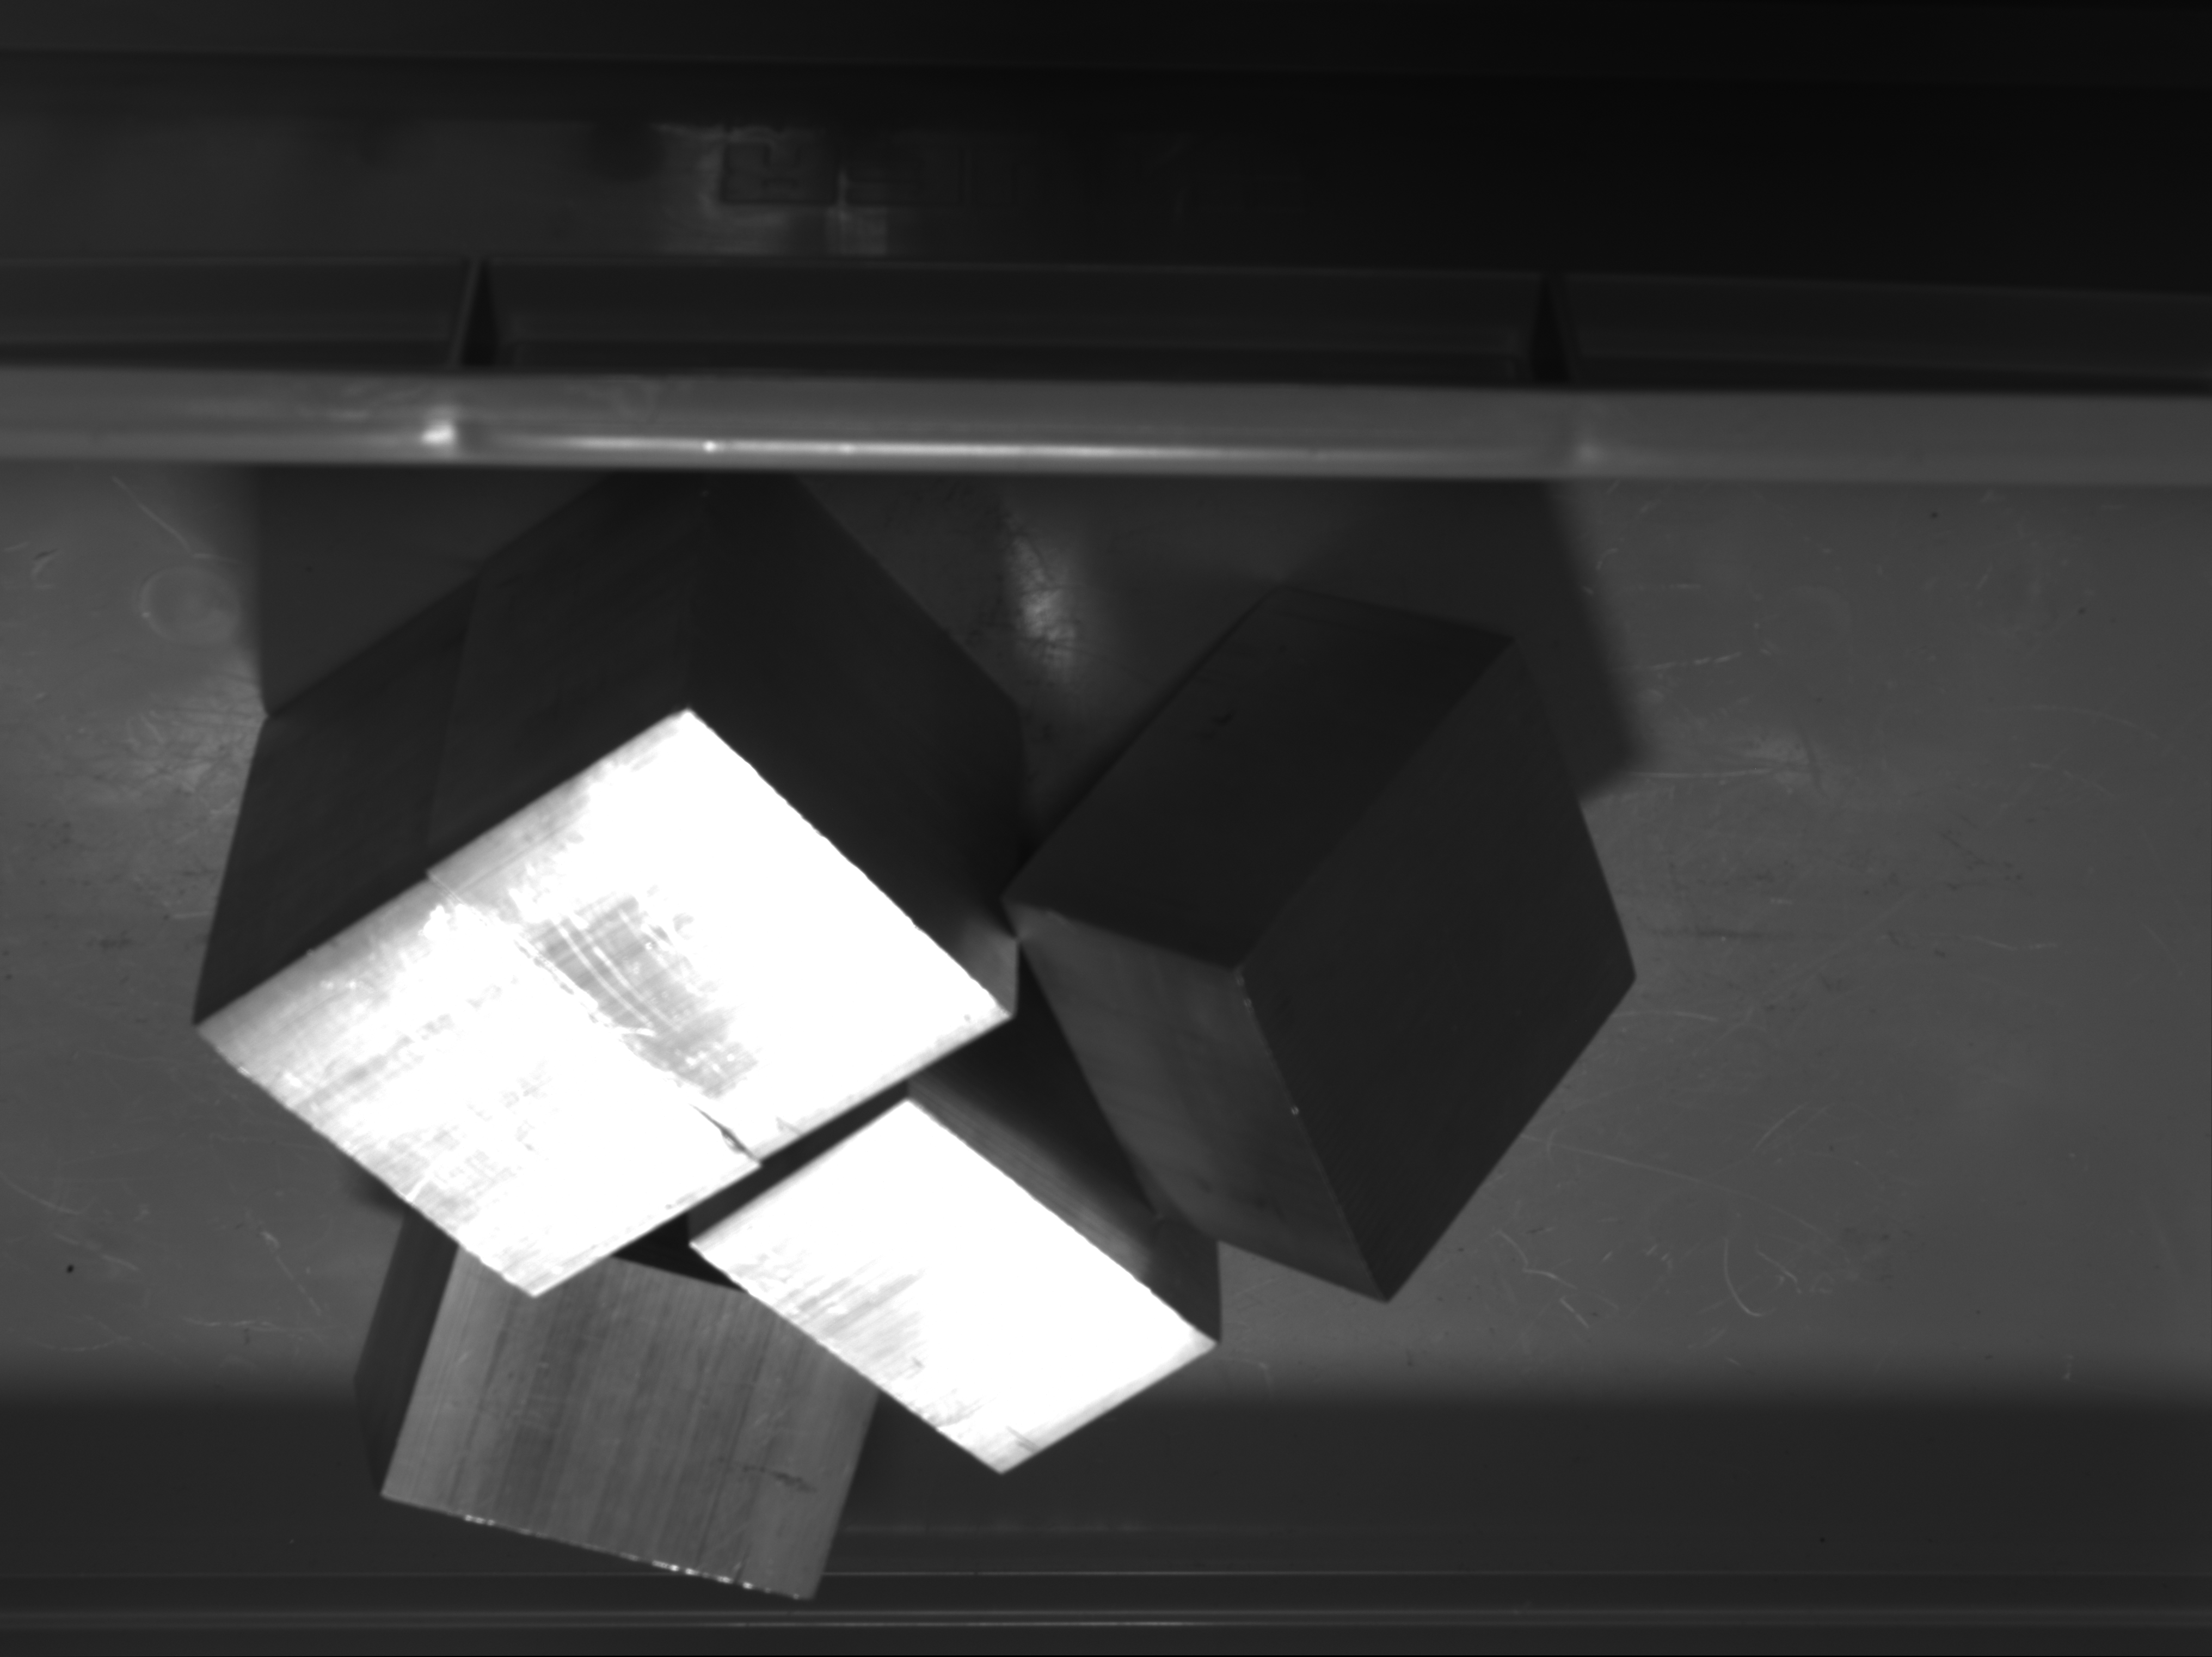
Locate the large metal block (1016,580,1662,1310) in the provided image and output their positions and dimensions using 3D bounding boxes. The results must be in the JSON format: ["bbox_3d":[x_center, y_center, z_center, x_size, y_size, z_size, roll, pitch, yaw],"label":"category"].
[{"bbox_3d":[0.041,0.018,0.609,0.050,0.080,0.080,16,143,40],"label":"large metal block"}]

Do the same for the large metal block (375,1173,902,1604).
[{"bbox_3d":[-0.086,0.096,0.670,0.080,0.080,0.050,17,93,-16],"label":"large metal block"}]

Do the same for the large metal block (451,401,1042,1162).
[{"bbox_3d":[-0.055,-0.008,0.593,0.050,0.080,0.080,-31,124,22],"label":"large metal block"}]

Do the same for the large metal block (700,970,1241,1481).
[{"bbox_3d":[-0.023,0.053,0.644,0.050,0.080,0.080,-34,123,24],"label":"large metal block"}]

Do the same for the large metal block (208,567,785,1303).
[{"bbox_3d":[-0.097,0.018,0.613,0.050,0.080,0.080,-30,125,22],"label":"large metal block"}]
